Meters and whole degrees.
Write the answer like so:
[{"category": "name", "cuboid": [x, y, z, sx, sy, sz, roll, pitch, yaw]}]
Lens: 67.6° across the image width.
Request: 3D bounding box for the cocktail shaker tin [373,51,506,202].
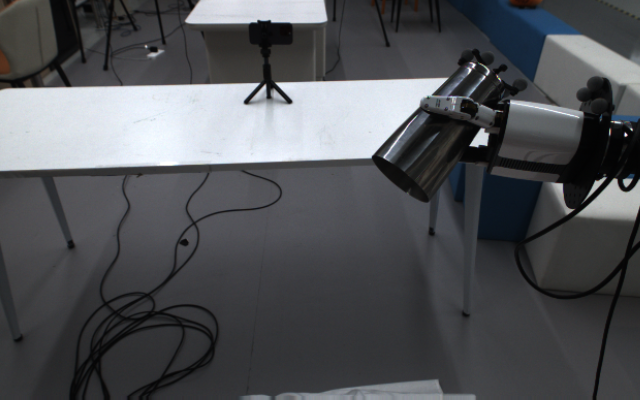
[{"category": "cocktail shaker tin", "cuboid": [0.156, -0.095, 0.618, 0.170, 0.093, 0.093, -48, 49, -4]}]
